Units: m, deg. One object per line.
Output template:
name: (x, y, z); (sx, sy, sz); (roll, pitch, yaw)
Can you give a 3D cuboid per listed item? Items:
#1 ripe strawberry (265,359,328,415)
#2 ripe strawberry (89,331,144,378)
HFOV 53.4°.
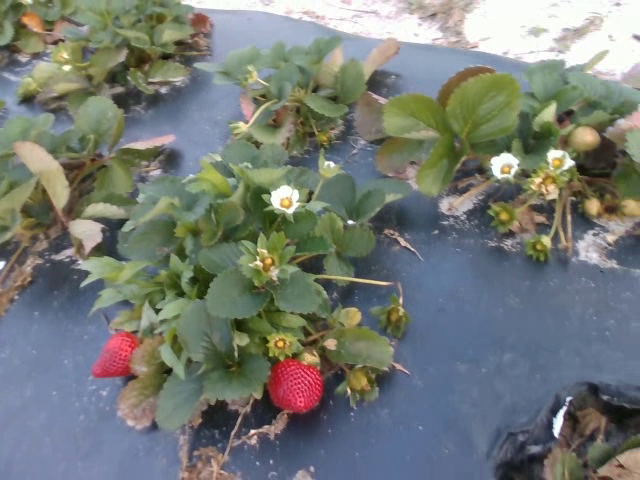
ripe strawberry: (-0.020, 0.112, 0.475); (0.046, 0.043, 0.046); (43, 7, -28)
ripe strawberry: (-0.170, 0.101, 0.539); (0.043, 0.043, 0.050); (33, 63, 33)
